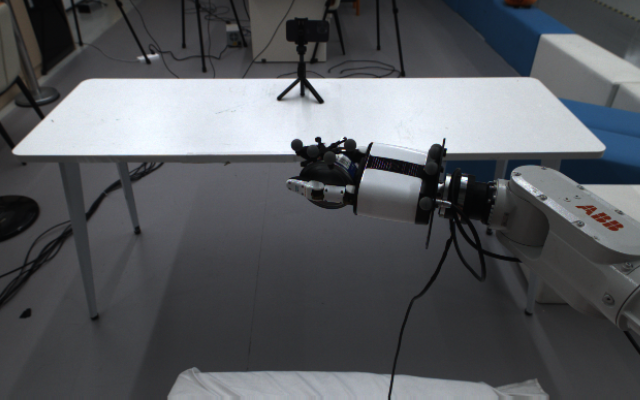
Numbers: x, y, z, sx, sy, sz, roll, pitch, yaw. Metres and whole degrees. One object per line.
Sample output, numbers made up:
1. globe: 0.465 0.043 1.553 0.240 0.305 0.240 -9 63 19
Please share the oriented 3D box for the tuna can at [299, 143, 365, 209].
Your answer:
1. tuna can: 0.016 -0.030 0.716 0.085 0.085 0.034 11 39 13
